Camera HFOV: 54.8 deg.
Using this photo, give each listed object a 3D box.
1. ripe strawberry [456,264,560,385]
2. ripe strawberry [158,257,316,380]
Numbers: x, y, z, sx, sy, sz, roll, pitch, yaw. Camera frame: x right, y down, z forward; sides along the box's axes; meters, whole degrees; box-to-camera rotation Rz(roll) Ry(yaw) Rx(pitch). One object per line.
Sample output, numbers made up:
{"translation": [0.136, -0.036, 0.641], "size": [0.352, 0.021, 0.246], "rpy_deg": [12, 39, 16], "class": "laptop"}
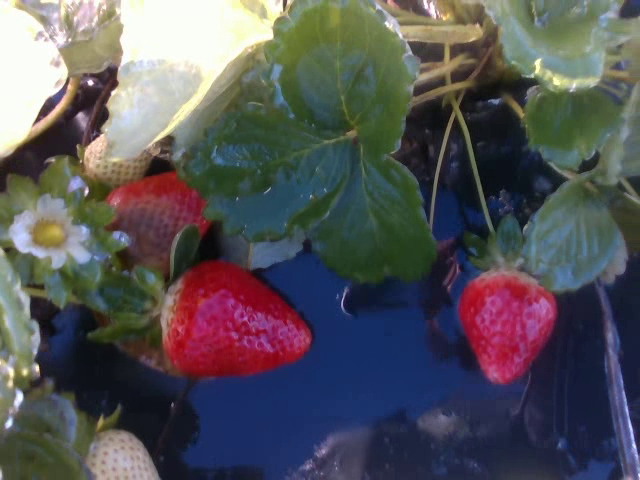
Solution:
{"translation": [0.068, 0.032, 0.215], "size": [0.039, 0.047, 0.040], "rpy_deg": [10, -5, -12], "class": "ripe strawberry"}
{"translation": [-0.027, 0.034, 0.211], "size": [0.056, 0.044, 0.040], "rpy_deg": [21, 4, -13], "class": "ripe strawberry"}
